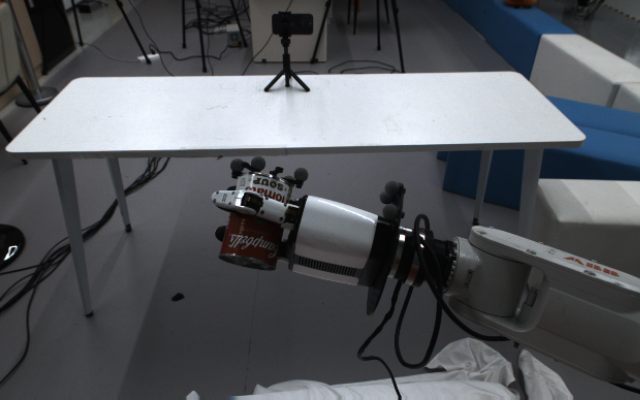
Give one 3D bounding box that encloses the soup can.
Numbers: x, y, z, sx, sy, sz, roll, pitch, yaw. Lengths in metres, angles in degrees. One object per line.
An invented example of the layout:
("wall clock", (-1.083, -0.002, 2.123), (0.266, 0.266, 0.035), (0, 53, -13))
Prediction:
("soup can", (-0.073, 0.026, 0.567), (0.067, 0.067, 0.101), (8, 72, 9))
